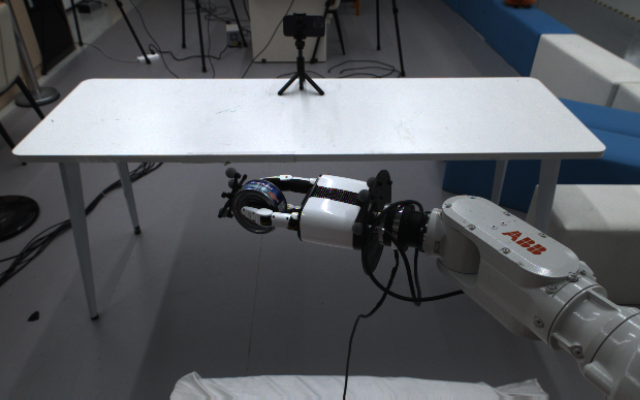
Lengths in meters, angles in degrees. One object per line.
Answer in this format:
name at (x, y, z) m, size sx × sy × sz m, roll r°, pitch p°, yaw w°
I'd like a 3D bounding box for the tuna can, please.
tuna can at (-0.096, 0.014, 0.774) m, size 0.085 × 0.085 × 0.034 m, roll 12°, pitch 31°, yaw 15°
